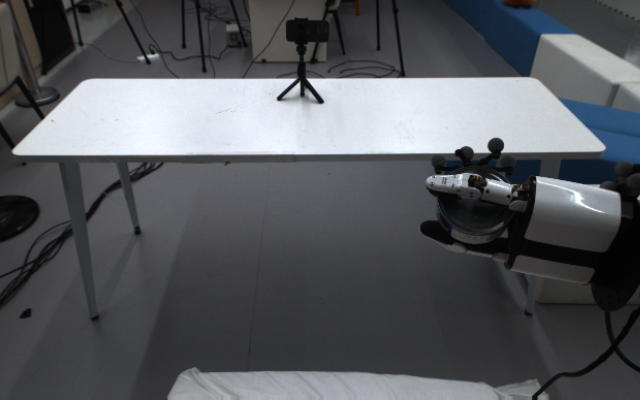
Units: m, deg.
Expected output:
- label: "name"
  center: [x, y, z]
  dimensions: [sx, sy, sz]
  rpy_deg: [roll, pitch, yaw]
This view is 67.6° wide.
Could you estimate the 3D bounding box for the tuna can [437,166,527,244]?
- label: "tuna can"
  center: [0.178, 0.004, 0.554]
  dimensions: [0.085, 0.034, 0.085]
  rpy_deg: [-4, 61, 7]
